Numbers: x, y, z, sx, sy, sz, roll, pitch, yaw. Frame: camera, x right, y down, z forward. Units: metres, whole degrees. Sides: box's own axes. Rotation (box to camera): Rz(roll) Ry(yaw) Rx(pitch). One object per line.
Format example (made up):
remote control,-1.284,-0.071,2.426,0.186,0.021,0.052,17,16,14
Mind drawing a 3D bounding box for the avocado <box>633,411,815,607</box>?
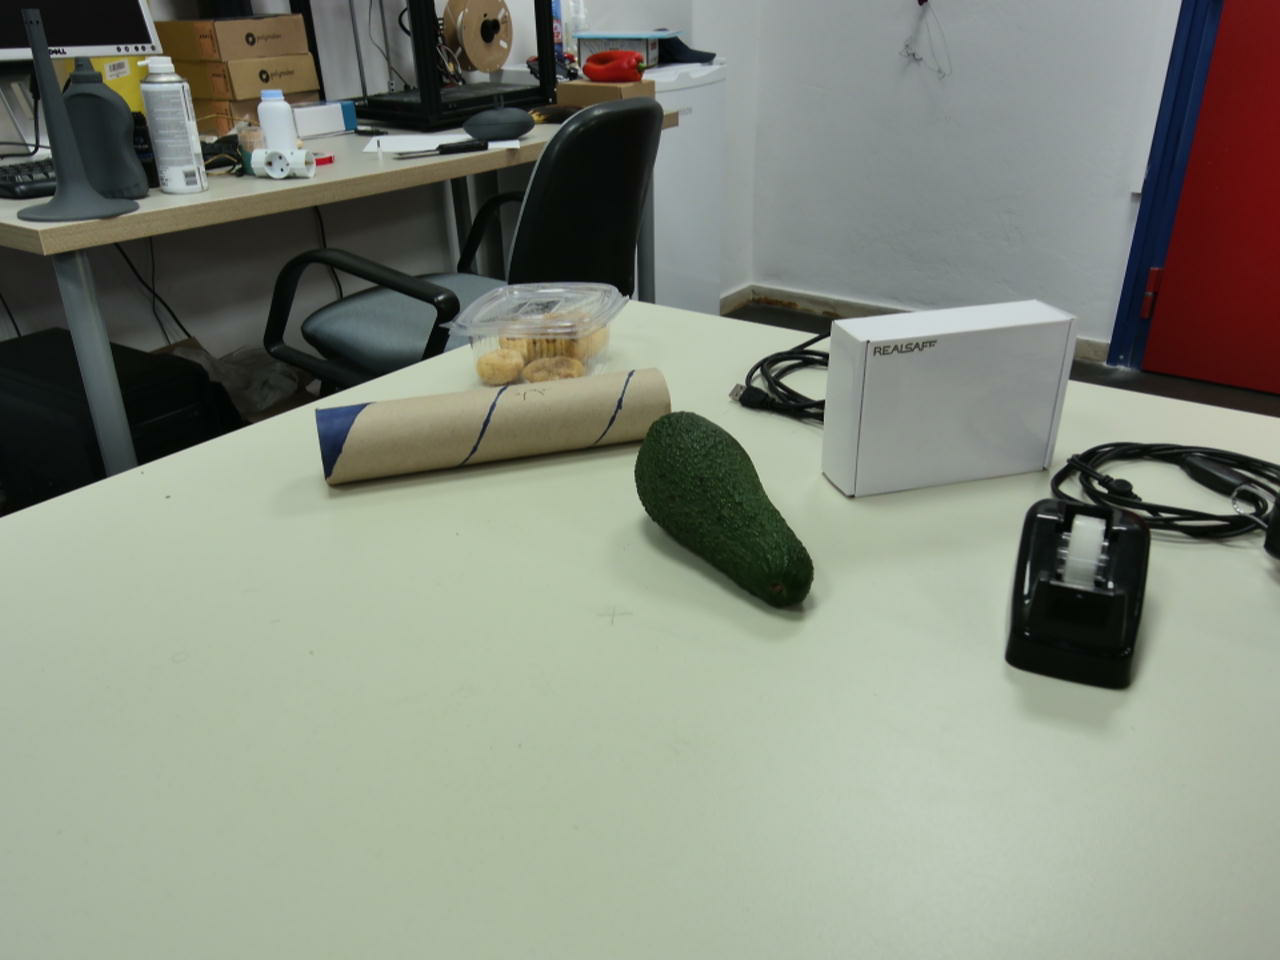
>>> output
avocado,0.048,0.009,0.520,0.063,0.067,0.141,-17,30,-34
